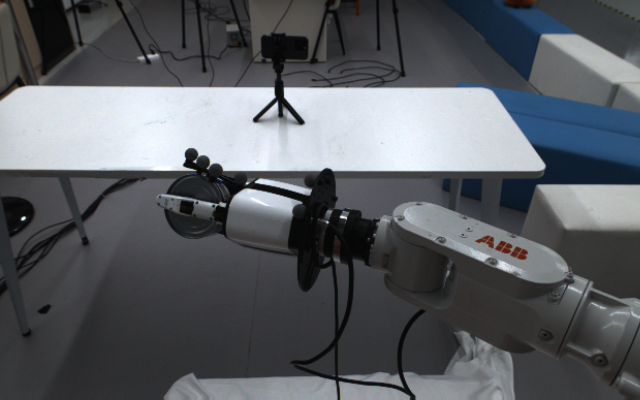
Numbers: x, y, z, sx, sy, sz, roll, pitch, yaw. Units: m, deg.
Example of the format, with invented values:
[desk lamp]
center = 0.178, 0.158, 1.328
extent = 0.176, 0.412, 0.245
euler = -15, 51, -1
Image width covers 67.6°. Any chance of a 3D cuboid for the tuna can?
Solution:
[tuna can]
center = -0.160, 0.008, 0.646
extent = 0.085, 0.085, 0.034
euler = 13, 3, 16
